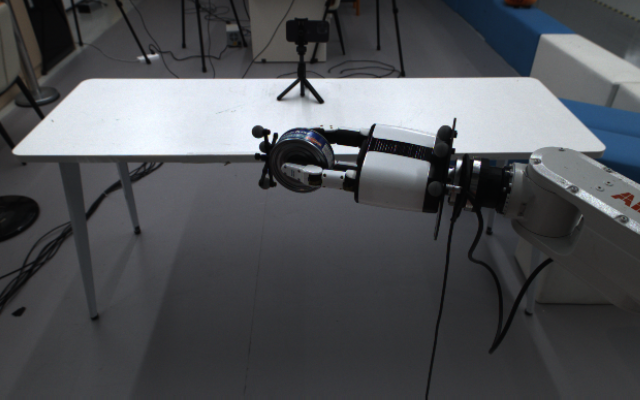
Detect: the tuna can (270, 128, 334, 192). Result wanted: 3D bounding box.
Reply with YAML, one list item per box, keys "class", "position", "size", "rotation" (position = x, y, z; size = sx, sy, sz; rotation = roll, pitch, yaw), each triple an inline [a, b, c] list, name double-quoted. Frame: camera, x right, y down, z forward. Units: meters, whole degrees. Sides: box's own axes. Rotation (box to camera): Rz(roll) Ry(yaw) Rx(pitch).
- class: "tuna can"
  position: [-0.024, -0.056, 0.662]
  size: [0.085, 0.085, 0.034]
  rotation: [9, 33, 9]
